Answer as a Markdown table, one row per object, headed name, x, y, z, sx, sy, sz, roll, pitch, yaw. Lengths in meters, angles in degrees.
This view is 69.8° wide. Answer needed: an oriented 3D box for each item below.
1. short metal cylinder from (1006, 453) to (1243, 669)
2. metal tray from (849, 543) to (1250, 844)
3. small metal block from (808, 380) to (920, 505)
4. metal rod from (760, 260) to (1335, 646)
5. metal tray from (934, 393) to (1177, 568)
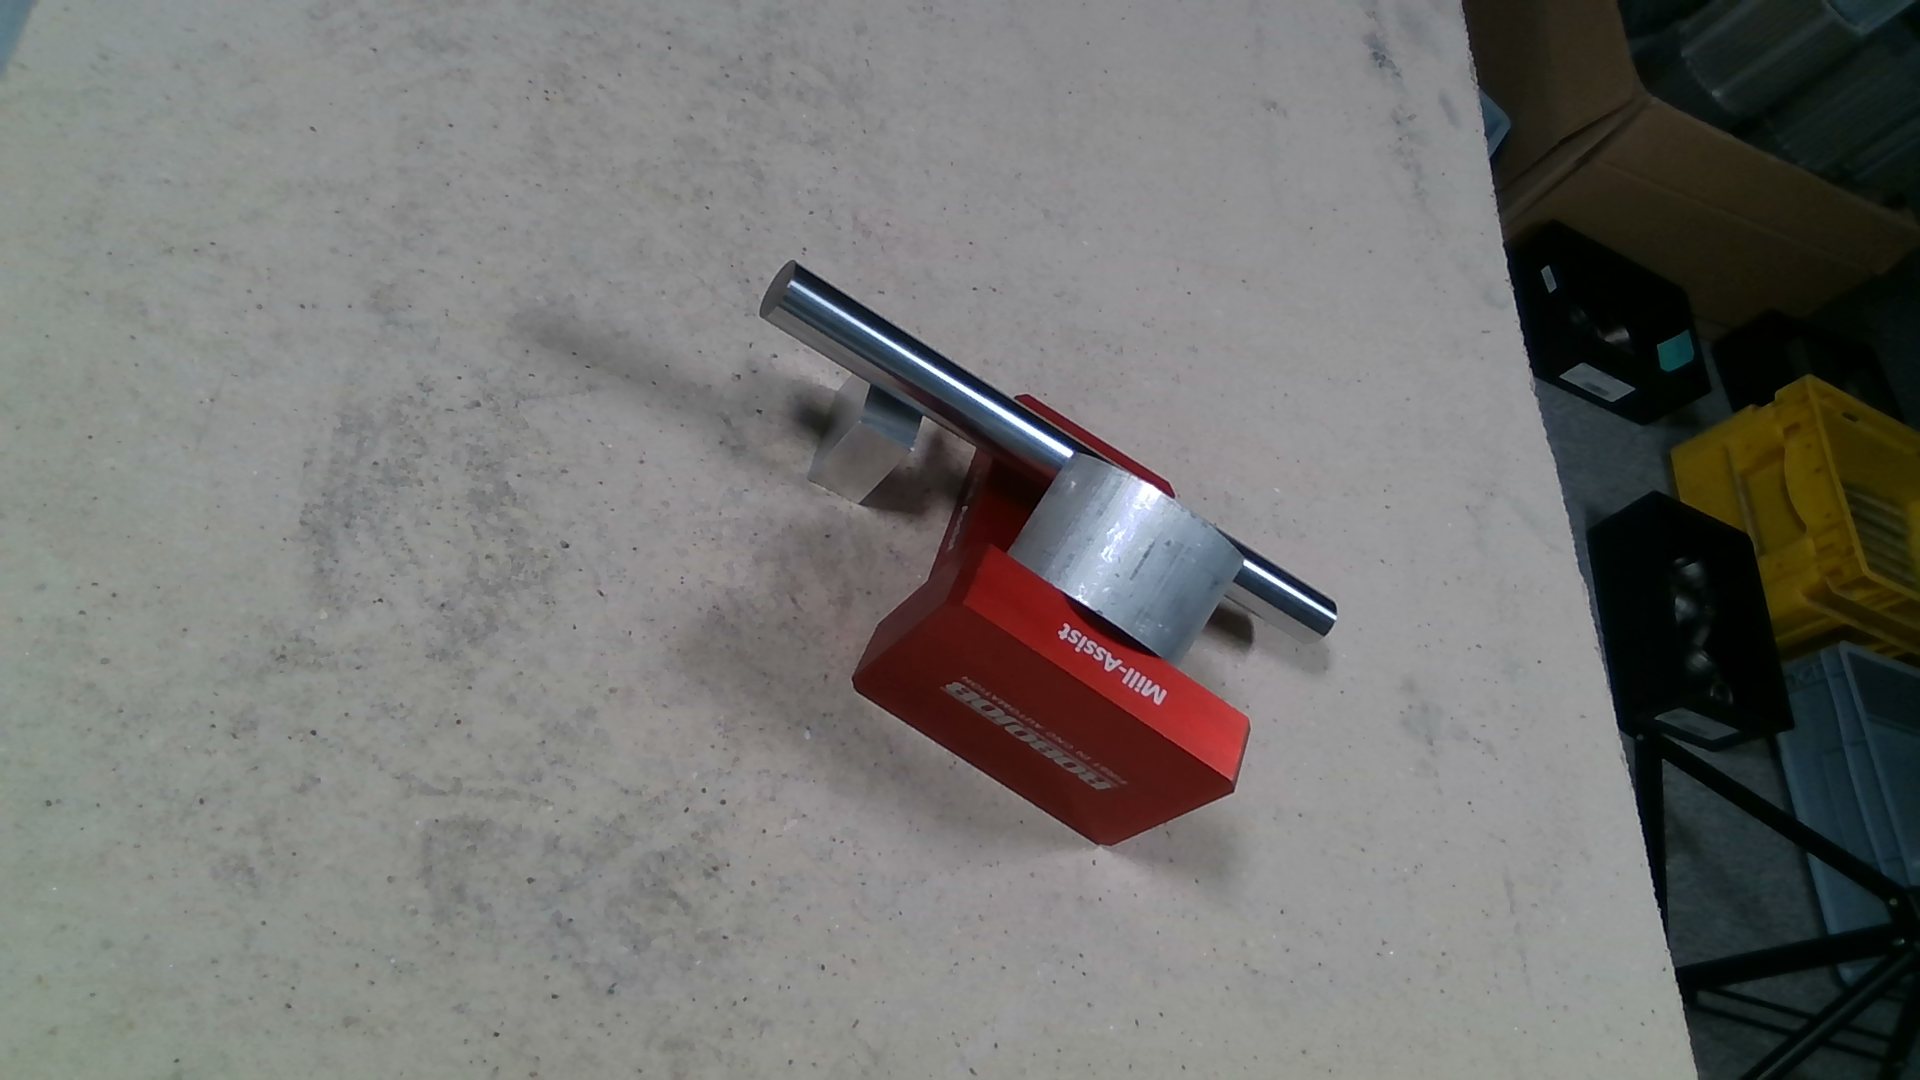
| name | x | y | z | sx | sy | sz | roll | pitch | yaw |
| --- | --- | --- | --- | --- | --- | --- | --- | --- | --- |
| short metal cylinder | 0.063 | 0.009 | 0.537 | 0.080 | 0.080 | 0.050 | 34 | 85 | -12 |
| metal tray | 0.033 | 0.064 | 0.530 | 0.130 | 0.090 | 0.030 | 34 | 52 | -12 |
| small metal block | -0.036 | -0.051 | 0.575 | 0.025 | 0.050 | 0.050 | 26 | 54 | -18 |
| metal rod | 0.049 | -0.028 | 0.581 | 0.301 | 0.025 | 0.025 | 30 | 53 | -26 |
| metal tray | 0.040 | 0.009 | 0.602 | 0.090 | 0.030 | 0.130 | 30 | 53 | -15 |
